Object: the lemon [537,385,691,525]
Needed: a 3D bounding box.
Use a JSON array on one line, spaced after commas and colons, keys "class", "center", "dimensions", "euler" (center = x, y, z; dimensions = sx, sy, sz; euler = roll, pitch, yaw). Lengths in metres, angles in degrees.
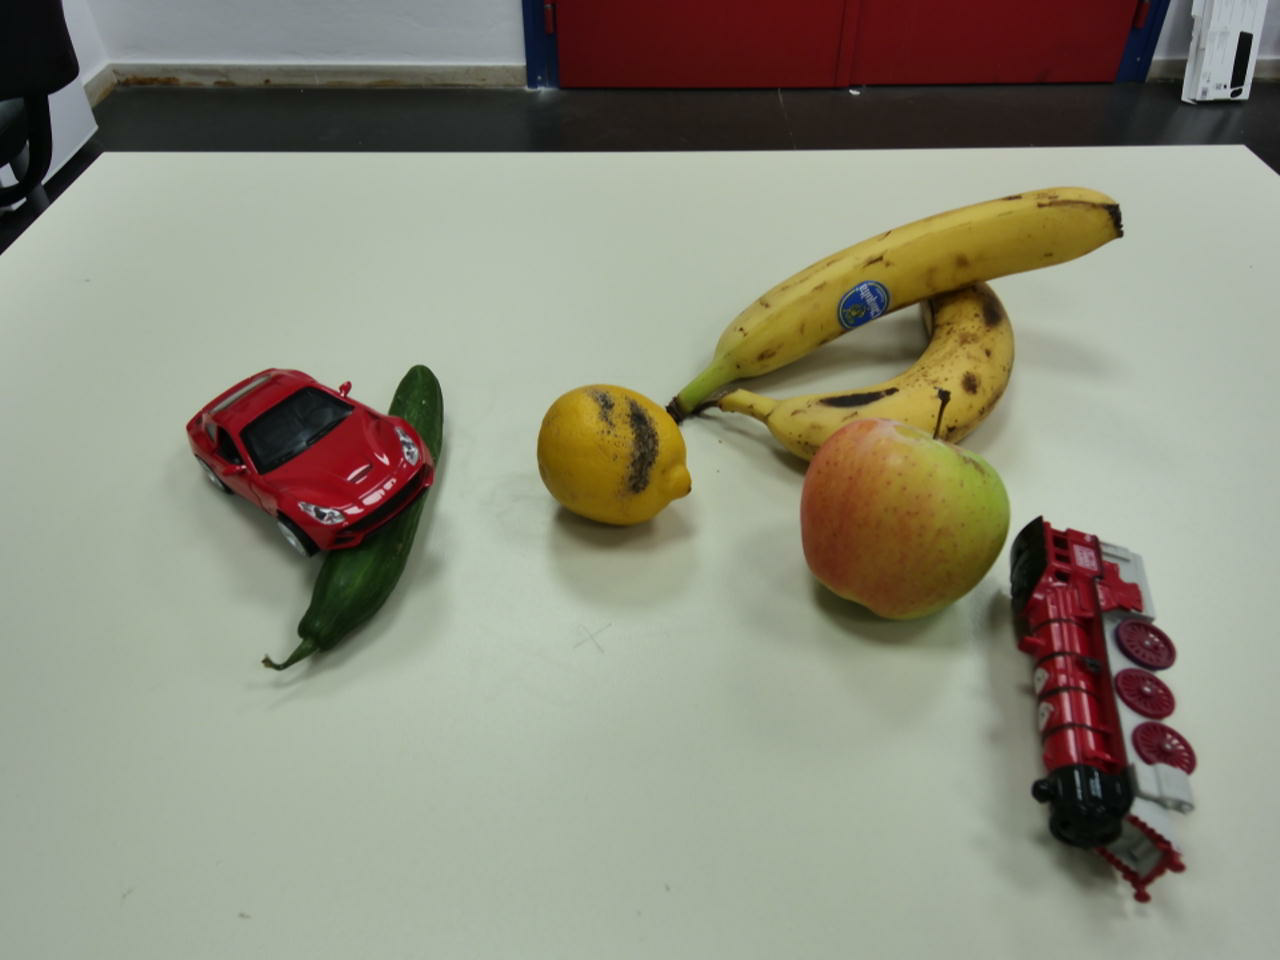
[{"class": "lemon", "center": [-0.012, -0.011, 0.412], "dimensions": [0.061, 0.056, 0.058], "euler": [-6, 39, -6]}]
